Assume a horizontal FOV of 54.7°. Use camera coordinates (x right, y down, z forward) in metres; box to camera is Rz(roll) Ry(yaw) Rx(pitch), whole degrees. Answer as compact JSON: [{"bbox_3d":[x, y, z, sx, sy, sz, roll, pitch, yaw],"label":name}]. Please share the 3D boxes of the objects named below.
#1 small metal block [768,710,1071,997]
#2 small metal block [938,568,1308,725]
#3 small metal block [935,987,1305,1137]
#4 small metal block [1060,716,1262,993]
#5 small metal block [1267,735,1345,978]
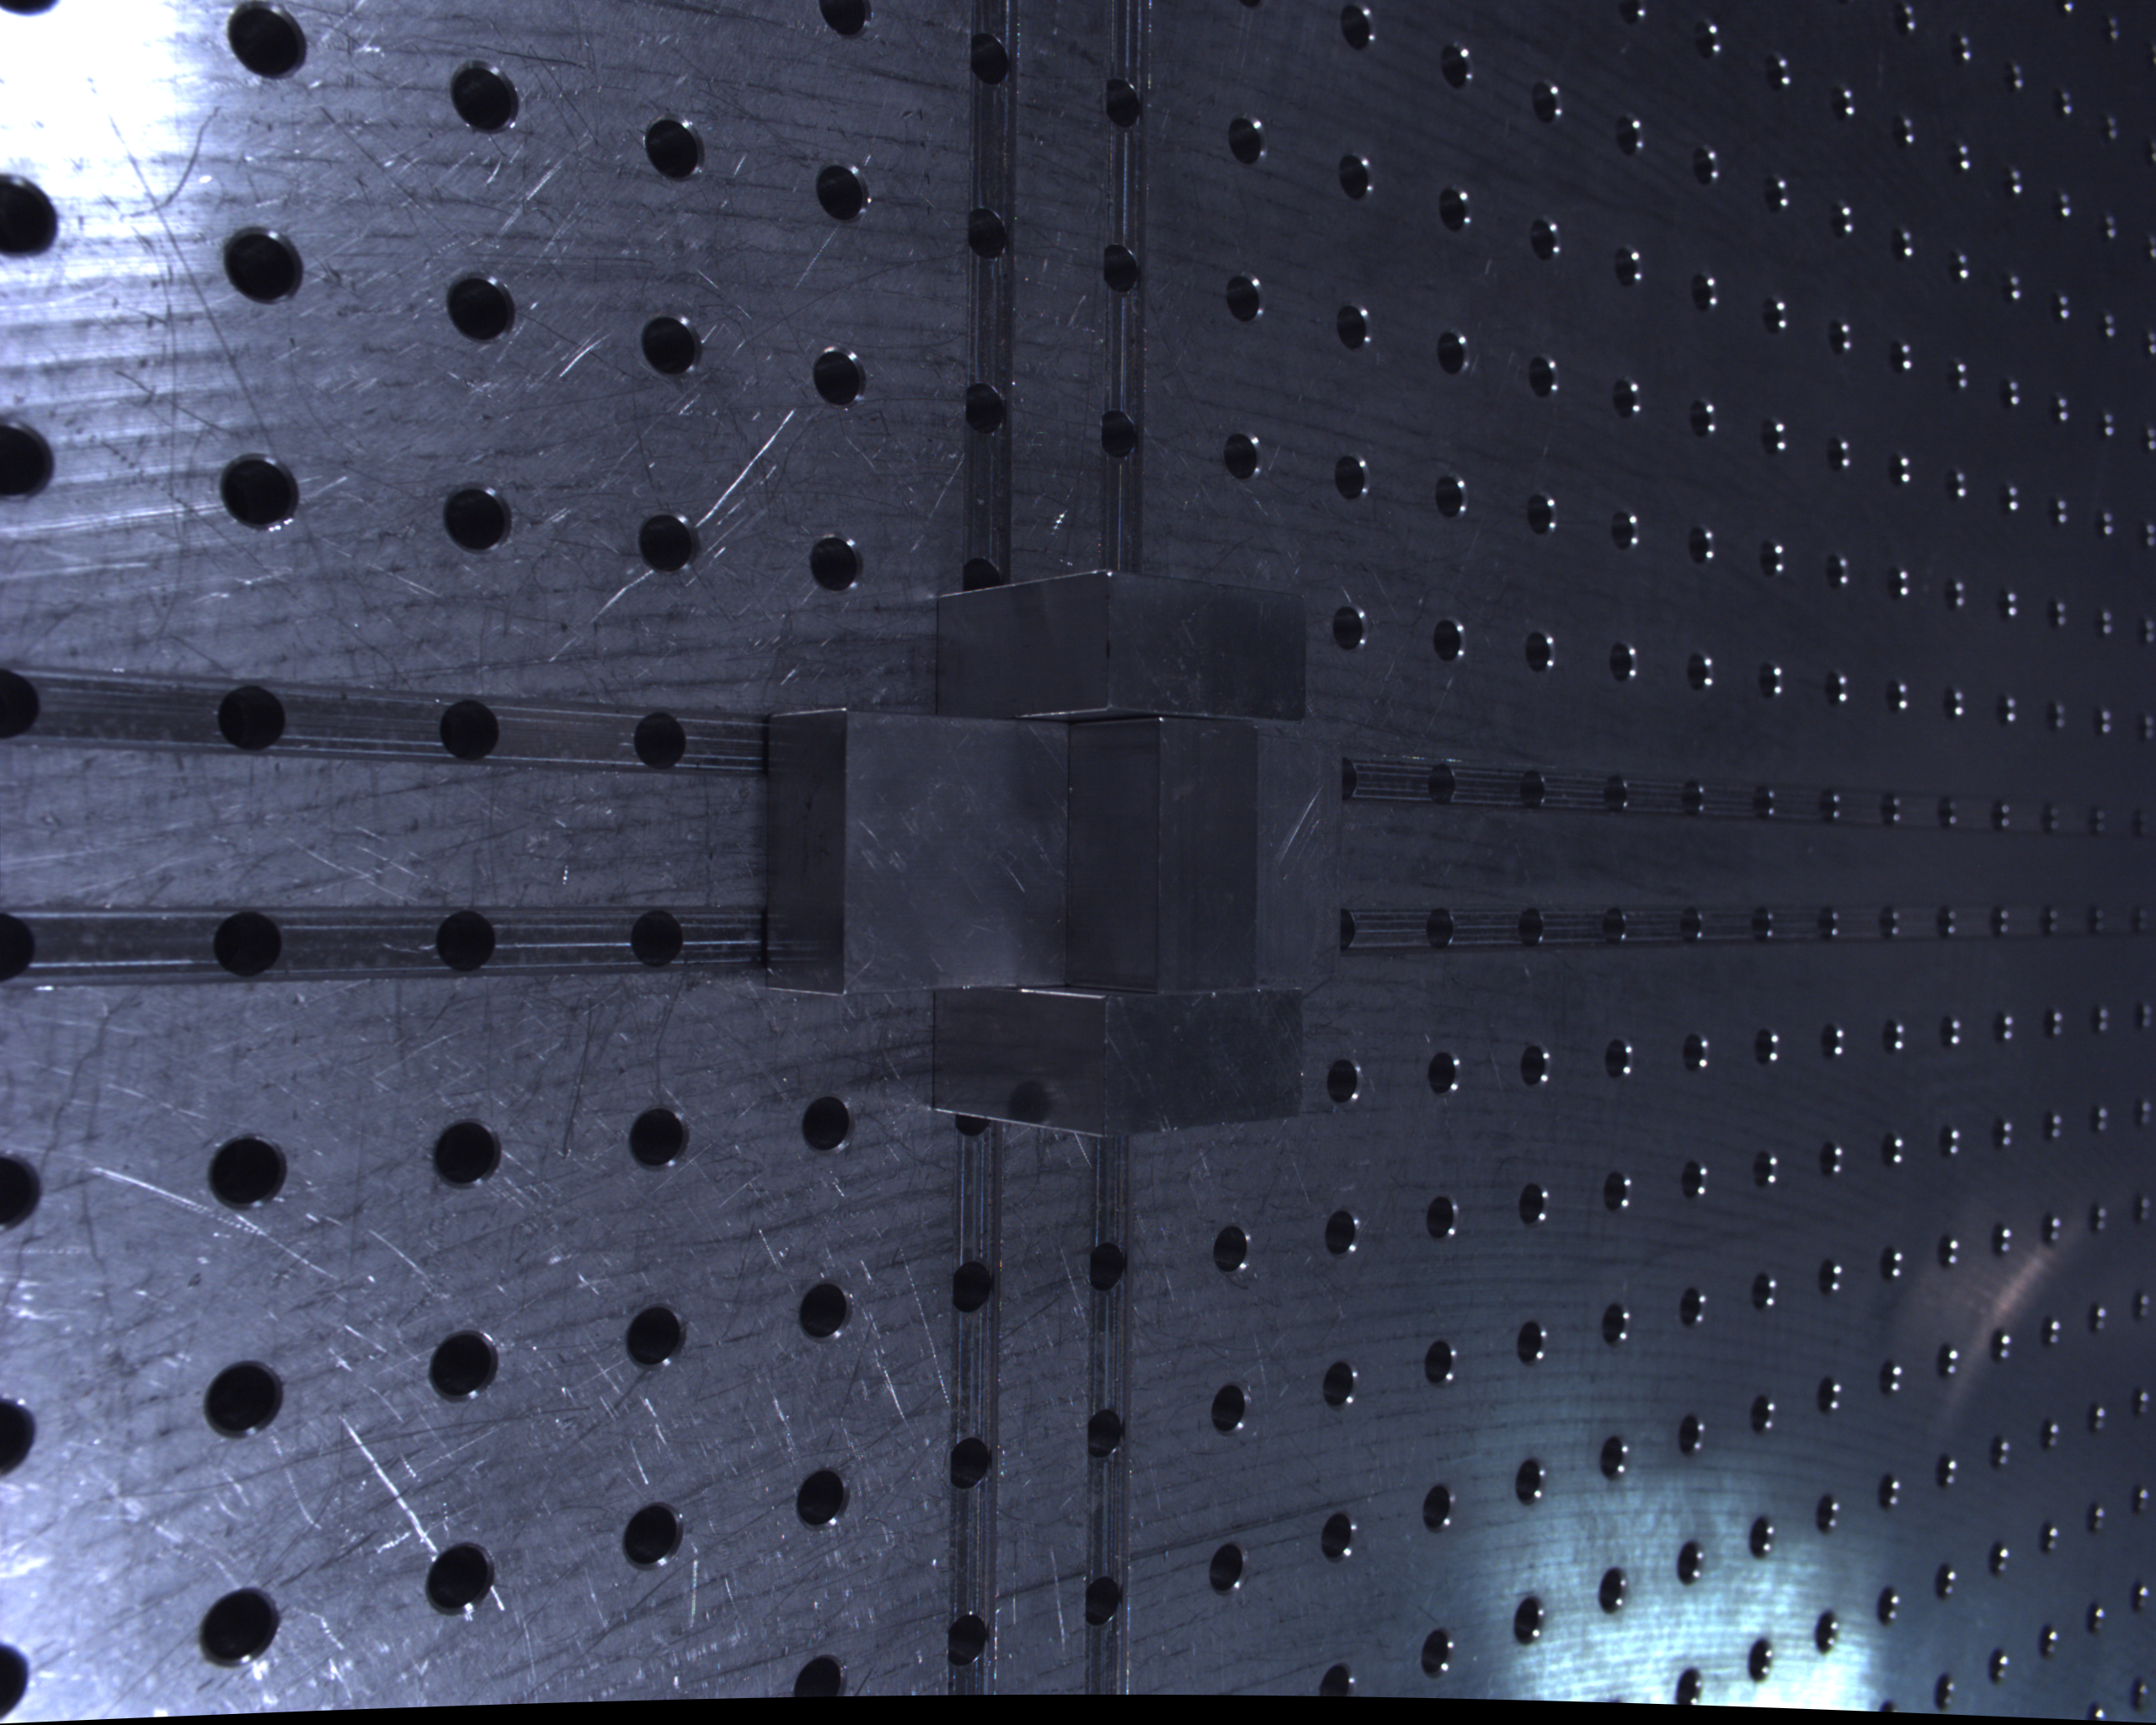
[{"bbox_3d":[-0.029,-0.002,0.386,0.050,0.025,0.050,1,90,-40],"label":"small metal block"},{"bbox_3d":[0.008,-0.039,0.401,0.050,0.050,0.025,1,90,-40],"label":"small metal block"},{"bbox_3d":[0.008,0.036,0.401,0.050,0.050,0.025,1,90,-40],"label":"small metal block"},{"bbox_3d":[0.008,-0.002,0.401,0.025,0.050,0.050,1,90,-40],"label":"small metal block"},{"bbox_3d":[0.029,-0.001,0.435,0.050,0.025,0.050,1,89,-40],"label":"small metal block"}]
